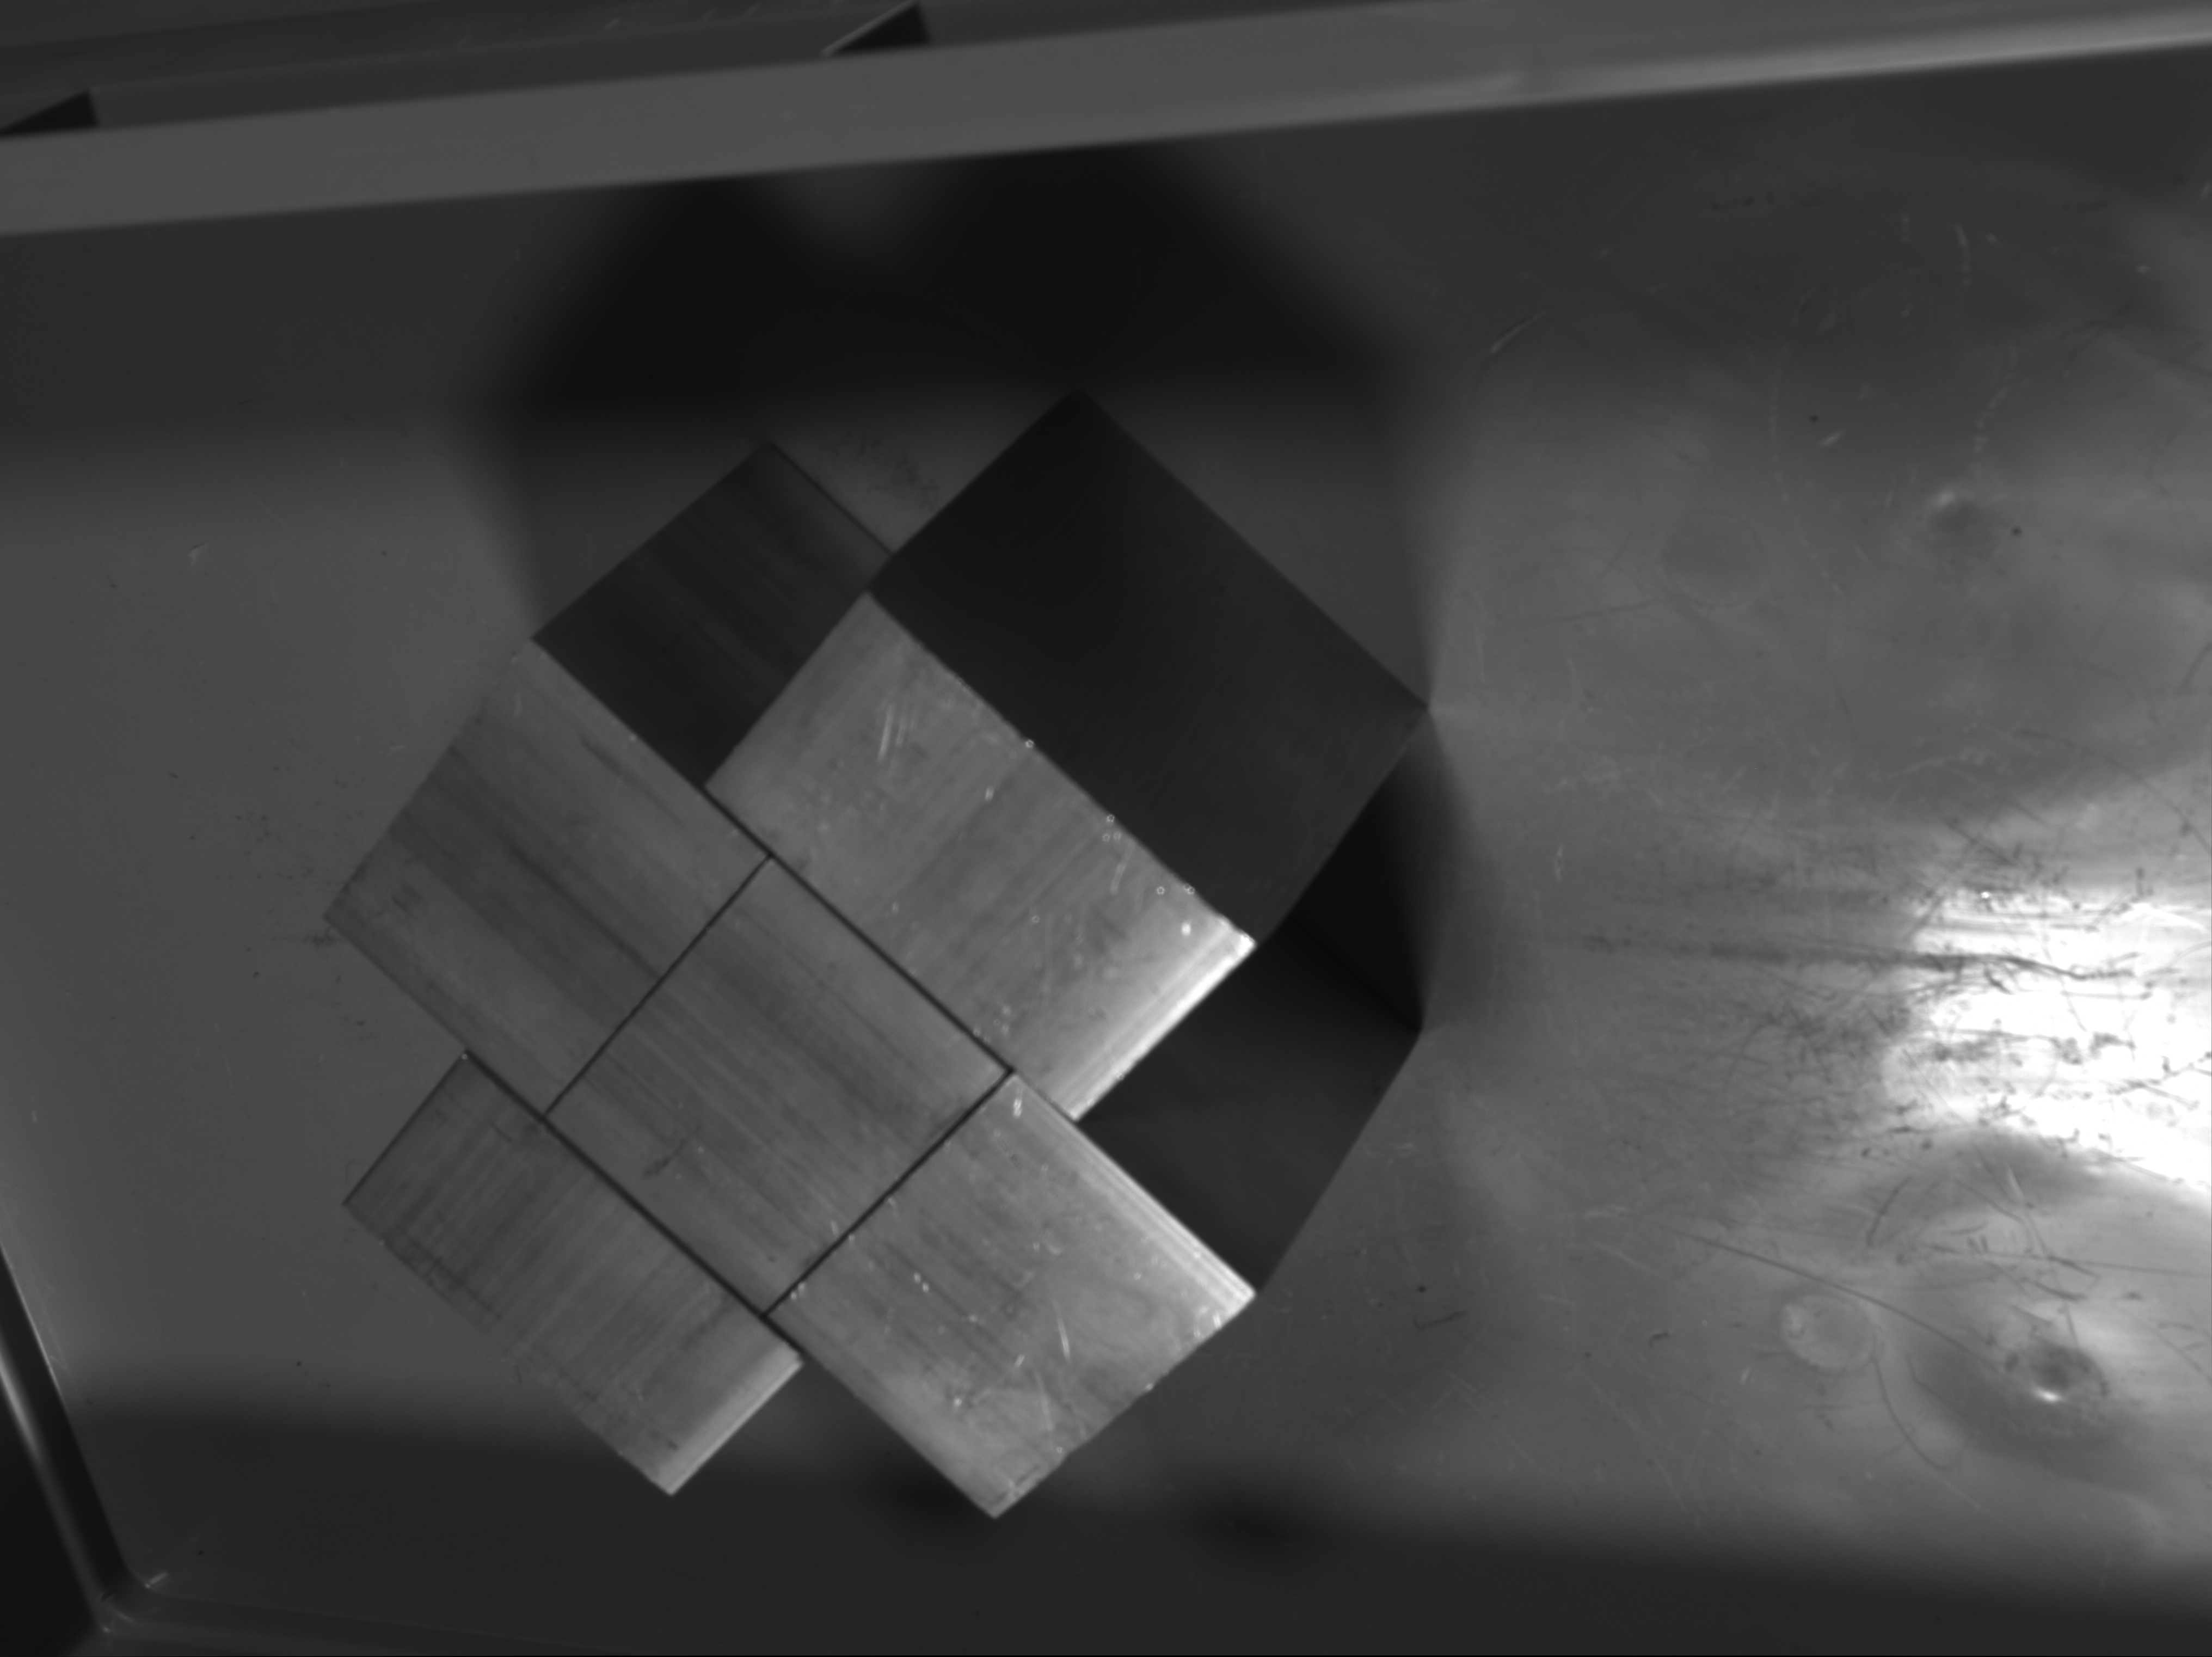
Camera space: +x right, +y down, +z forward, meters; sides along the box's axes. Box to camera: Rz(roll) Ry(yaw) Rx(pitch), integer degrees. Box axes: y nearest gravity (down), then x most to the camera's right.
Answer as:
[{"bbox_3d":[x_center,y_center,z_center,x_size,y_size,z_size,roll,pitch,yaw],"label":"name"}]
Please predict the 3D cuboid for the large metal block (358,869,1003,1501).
[{"bbox_3d":[-0.074,0.060,0.669,0.080,0.080,0.050,42,128,-2],"label":"large metal block"}]

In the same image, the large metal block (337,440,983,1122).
[{"bbox_3d":[-0.074,-0.009,0.627,0.050,0.080,0.080,42,128,-2],"label":"large metal block"}]

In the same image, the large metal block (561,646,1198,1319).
[{"bbox_3d":[-0.036,0.025,0.629,0.050,0.080,0.080,42,128,-2],"label":"large metal block"}]

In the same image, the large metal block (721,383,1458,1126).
[{"bbox_3d":[-0.001,-0.013,0.588,0.080,0.080,0.050,42,128,-2],"label":"large metal block"}]

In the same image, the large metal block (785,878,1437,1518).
[{"bbox_3d":[0.002,0.059,0.631,0.050,0.080,0.080,42,128,-2],"label":"large metal block"}]
